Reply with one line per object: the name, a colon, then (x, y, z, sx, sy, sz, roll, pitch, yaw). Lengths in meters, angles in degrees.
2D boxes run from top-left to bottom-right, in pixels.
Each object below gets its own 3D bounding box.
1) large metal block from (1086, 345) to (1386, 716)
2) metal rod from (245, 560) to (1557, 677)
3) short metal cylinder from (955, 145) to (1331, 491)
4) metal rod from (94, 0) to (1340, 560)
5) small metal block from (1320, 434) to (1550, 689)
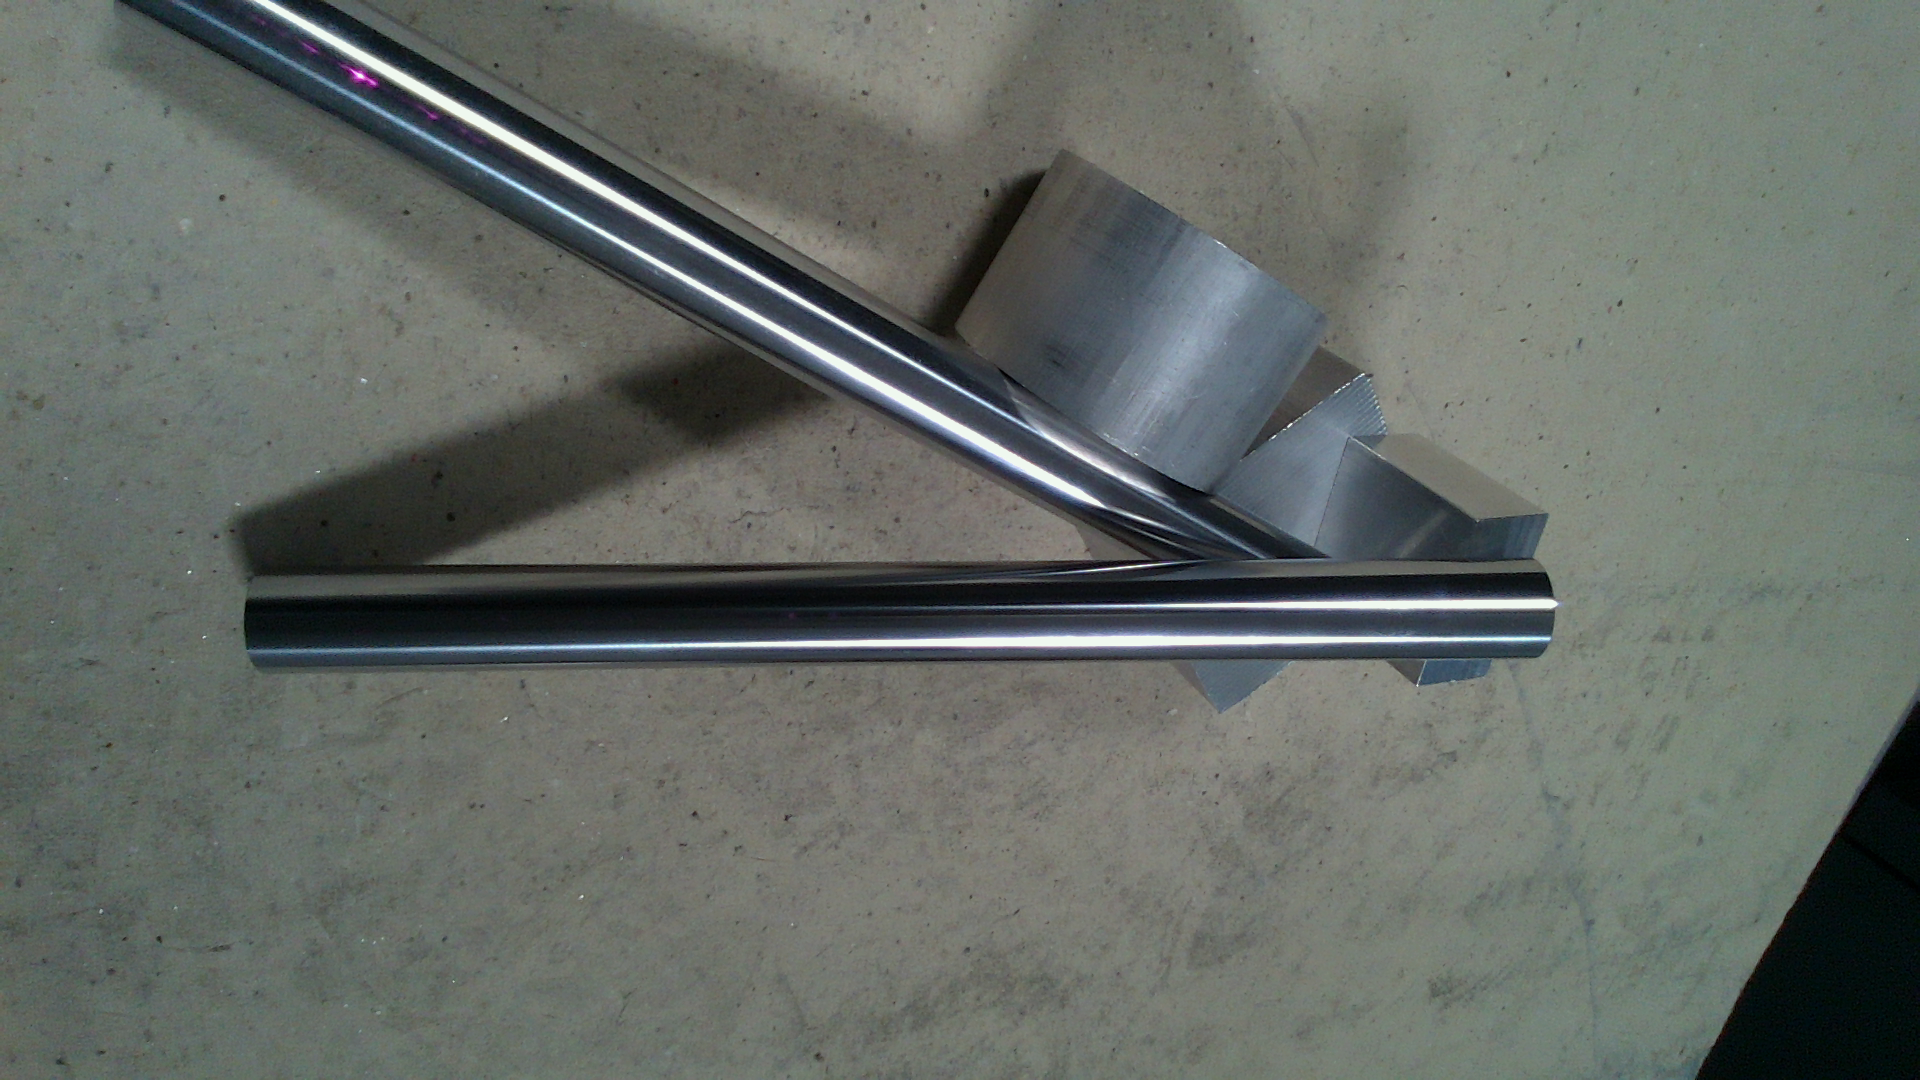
large metal block: (0.084, -0.008, 0.412, 0.080, 0.050, 0.080, -35, 128, -4)
metal rod: (-0.009, 0.018, 0.327, 0.300, 0.025, 0.025, 0, 121, -4)
short metal cylinder: (0.045, -0.055, 0.346, 0.080, 0.080, 0.050, 23, 106, -36)
metal rod: (-0.027, -0.046, 0.309, 0.301, 0.025, 0.025, 26, 104, -25)
small metal block: (0.125, 0.005, 0.376, 0.025, 0.050, 0.050, -4, 120, -26)
